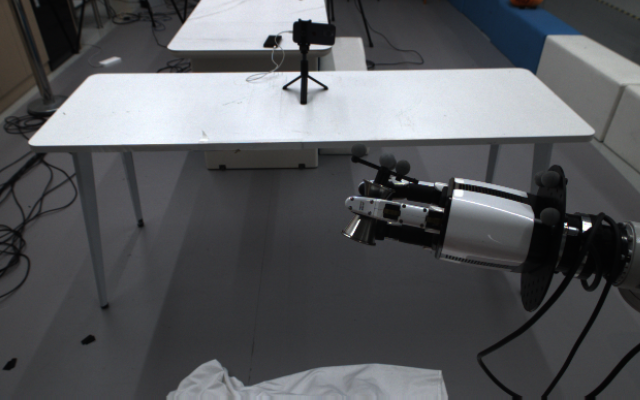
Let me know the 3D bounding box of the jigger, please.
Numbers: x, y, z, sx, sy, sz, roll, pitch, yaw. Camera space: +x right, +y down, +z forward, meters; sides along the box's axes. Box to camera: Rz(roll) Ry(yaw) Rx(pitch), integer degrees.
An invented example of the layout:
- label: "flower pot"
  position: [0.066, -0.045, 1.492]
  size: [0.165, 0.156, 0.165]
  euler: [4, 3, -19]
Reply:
- label: "jigger"
  position: [0.055, 0.013, 0.557]
  size: [0.043, 0.071, 0.043]
  euler: [22, 5, -2]
